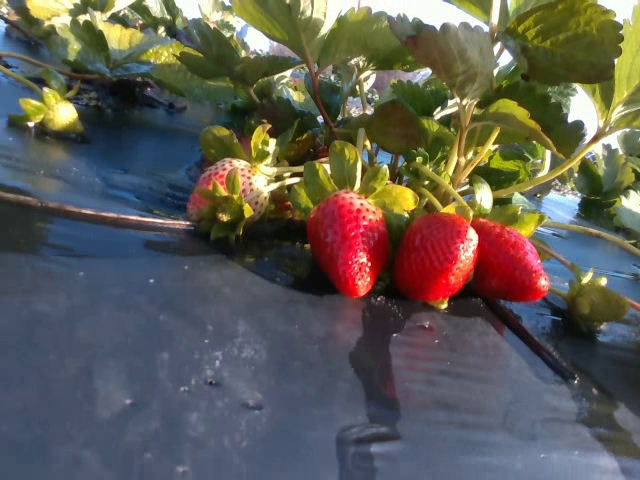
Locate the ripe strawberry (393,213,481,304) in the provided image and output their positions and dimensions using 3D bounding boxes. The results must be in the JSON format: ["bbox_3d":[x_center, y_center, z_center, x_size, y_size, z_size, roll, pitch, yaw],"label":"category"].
[{"bbox_3d":[0.040,0.002,0.202,0.030,0.037,0.039,21,-11,-7],"label":"ripe strawberry"}]

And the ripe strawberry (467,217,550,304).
[{"bbox_3d":[0.066,0.011,0.212,0.035,0.034,0.041,9,5,-16],"label":"ripe strawberry"}]

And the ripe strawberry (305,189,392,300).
[{"bbox_3d":[0.010,0.000,0.200,0.031,0.023,0.046,12,40,-13],"label":"ripe strawberry"}]
